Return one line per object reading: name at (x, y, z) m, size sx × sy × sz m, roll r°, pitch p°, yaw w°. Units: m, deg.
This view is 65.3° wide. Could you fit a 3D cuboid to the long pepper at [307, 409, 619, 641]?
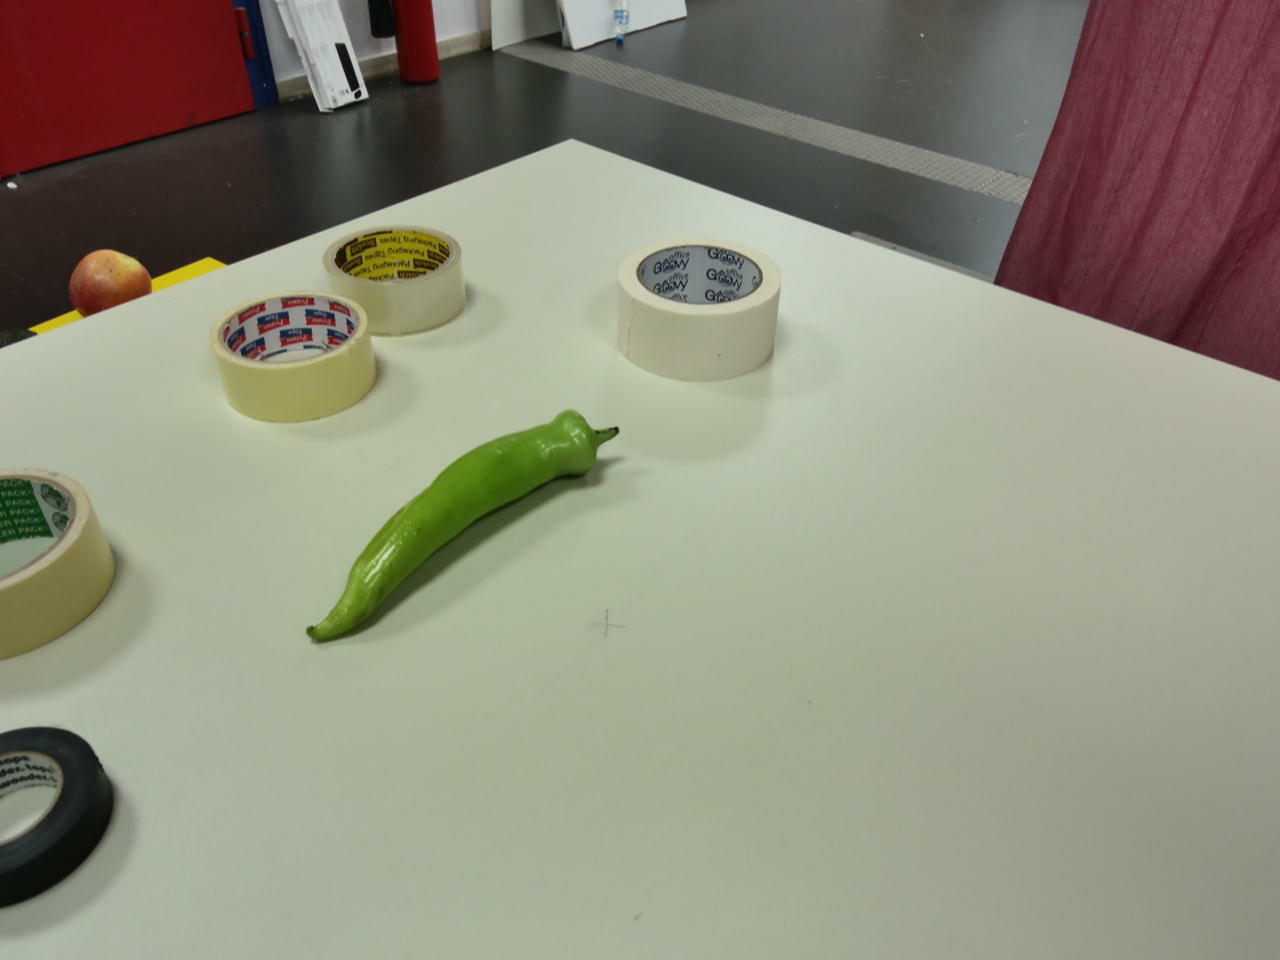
long pepper at (-0.089, 0.011, 0.501) m, size 0.047 × 0.038 × 0.197 m, roll 30°, pitch 45°, yaw 32°
